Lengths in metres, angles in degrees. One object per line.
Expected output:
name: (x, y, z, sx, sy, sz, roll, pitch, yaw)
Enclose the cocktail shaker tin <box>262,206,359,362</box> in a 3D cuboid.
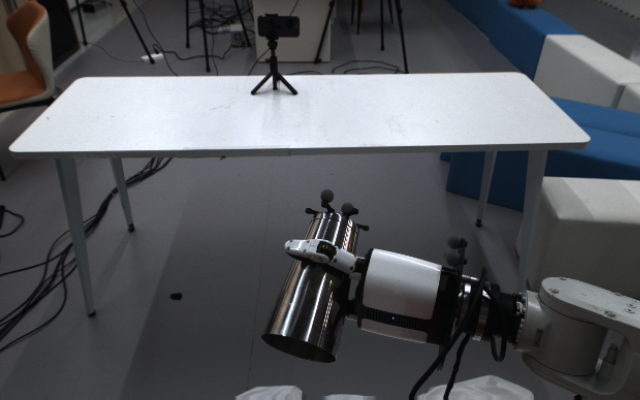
cocktail shaker tin: (0.001, 0.103, 0.602, 0.093, 0.093, 0.170, 10, 59, 11)
